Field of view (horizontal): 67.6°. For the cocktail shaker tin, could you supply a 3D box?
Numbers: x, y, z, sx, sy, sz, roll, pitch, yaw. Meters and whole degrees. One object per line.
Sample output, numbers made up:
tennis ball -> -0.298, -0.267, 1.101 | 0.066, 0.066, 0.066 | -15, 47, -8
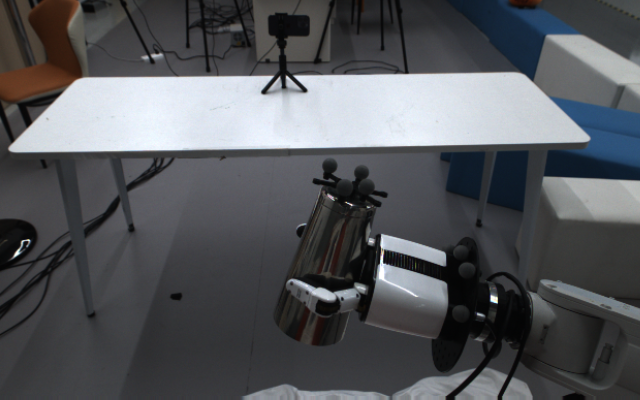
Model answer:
cocktail shaker tin -> 0.011, 0.071, 0.564 | 0.093, 0.170, 0.093 | 14, 20, -5
